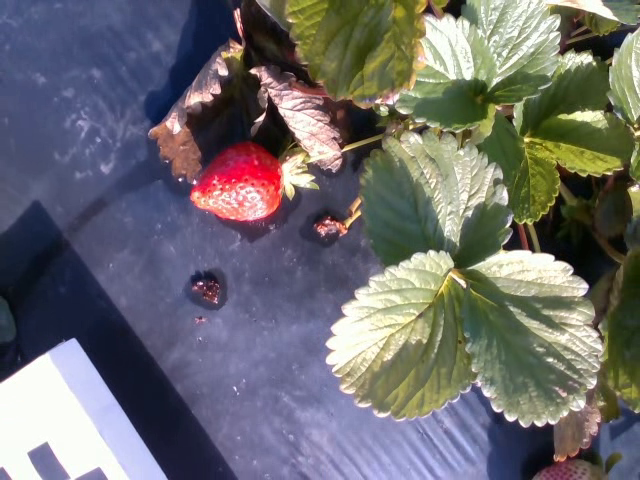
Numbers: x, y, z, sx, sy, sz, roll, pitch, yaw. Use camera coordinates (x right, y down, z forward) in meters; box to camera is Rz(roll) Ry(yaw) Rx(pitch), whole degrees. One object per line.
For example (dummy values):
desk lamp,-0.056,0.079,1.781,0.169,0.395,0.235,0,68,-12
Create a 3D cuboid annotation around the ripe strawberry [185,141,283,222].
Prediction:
ripe strawberry,-0.043,-0.020,0.255,0.054,0.046,0.038,-18,13,-18
